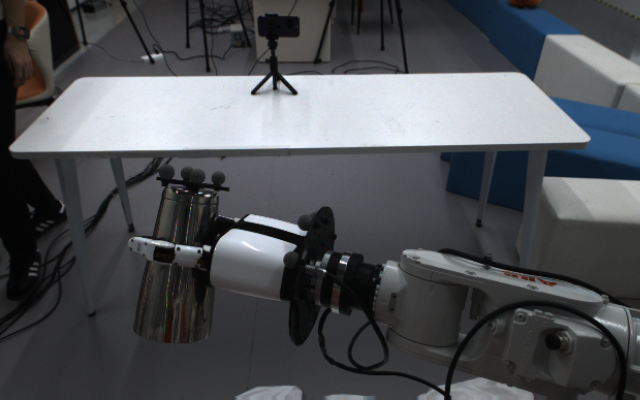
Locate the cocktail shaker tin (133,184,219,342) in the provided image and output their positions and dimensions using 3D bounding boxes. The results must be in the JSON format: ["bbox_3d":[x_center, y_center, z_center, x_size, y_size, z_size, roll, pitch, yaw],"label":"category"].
[{"bbox_3d":[-0.164,0.074,0.582,0.093,0.170,0.093,9,3,0],"label":"cocktail shaker tin"}]
